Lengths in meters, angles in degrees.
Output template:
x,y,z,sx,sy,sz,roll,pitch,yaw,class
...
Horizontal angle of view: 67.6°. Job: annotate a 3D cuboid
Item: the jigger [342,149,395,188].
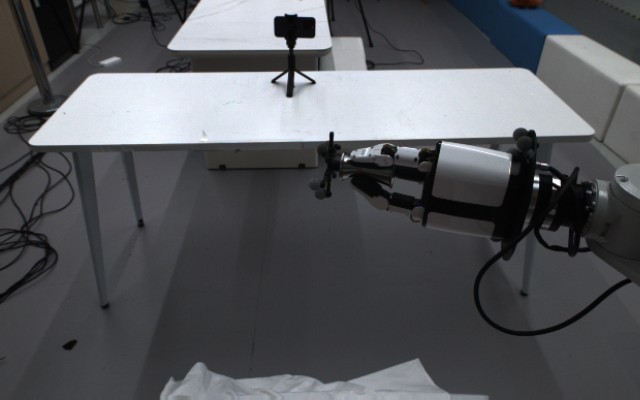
x,y,z,sx,sy,sz,roll,pitch,yaw,class
0.069,-0.044,0.634,0.071,0.043,0.043,7,35,12,jigger
